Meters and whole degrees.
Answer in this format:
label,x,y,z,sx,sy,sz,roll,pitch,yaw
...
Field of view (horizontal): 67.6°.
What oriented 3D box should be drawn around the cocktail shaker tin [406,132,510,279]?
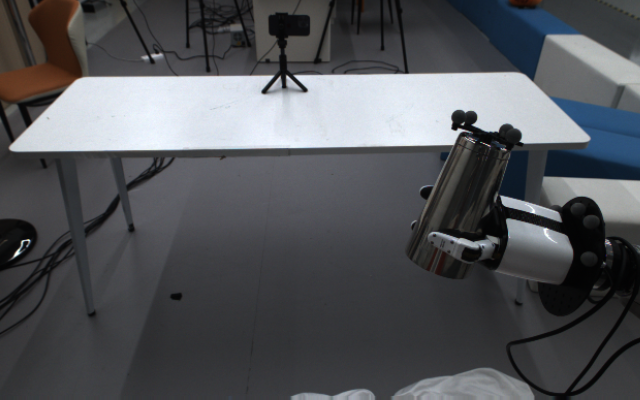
label,x,y,z,sx,sy,sz,roll,pitch,yaw
cocktail shaker tin,0.181,0.004,0.623,0.093,0.170,0.093,14,20,-5
